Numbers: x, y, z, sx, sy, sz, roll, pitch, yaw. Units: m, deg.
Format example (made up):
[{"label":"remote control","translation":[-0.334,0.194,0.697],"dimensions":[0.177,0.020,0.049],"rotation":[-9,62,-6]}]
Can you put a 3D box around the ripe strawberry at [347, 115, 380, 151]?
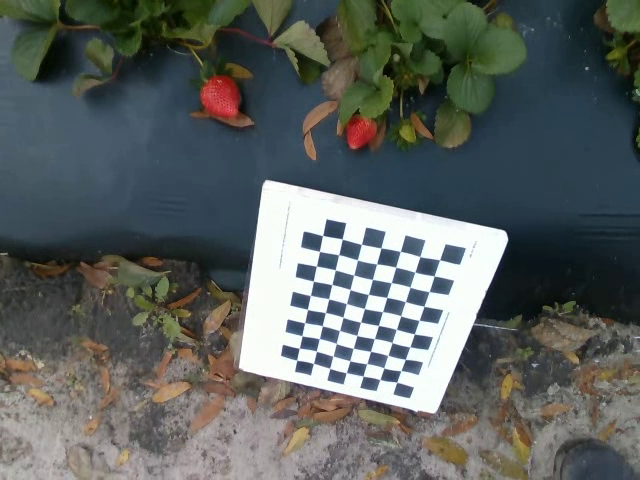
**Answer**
[{"label":"ripe strawberry","translation":[0.044,-0.115,0.729],"dimensions":[0.040,0.042,0.037],"rotation":[21,-15,-5]}]

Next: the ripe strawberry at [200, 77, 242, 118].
[{"label":"ripe strawberry","translation":[-0.105,-0.152,0.728],"dimensions":[0.042,0.047,0.065],"rotation":[-10,44,-32]}]
